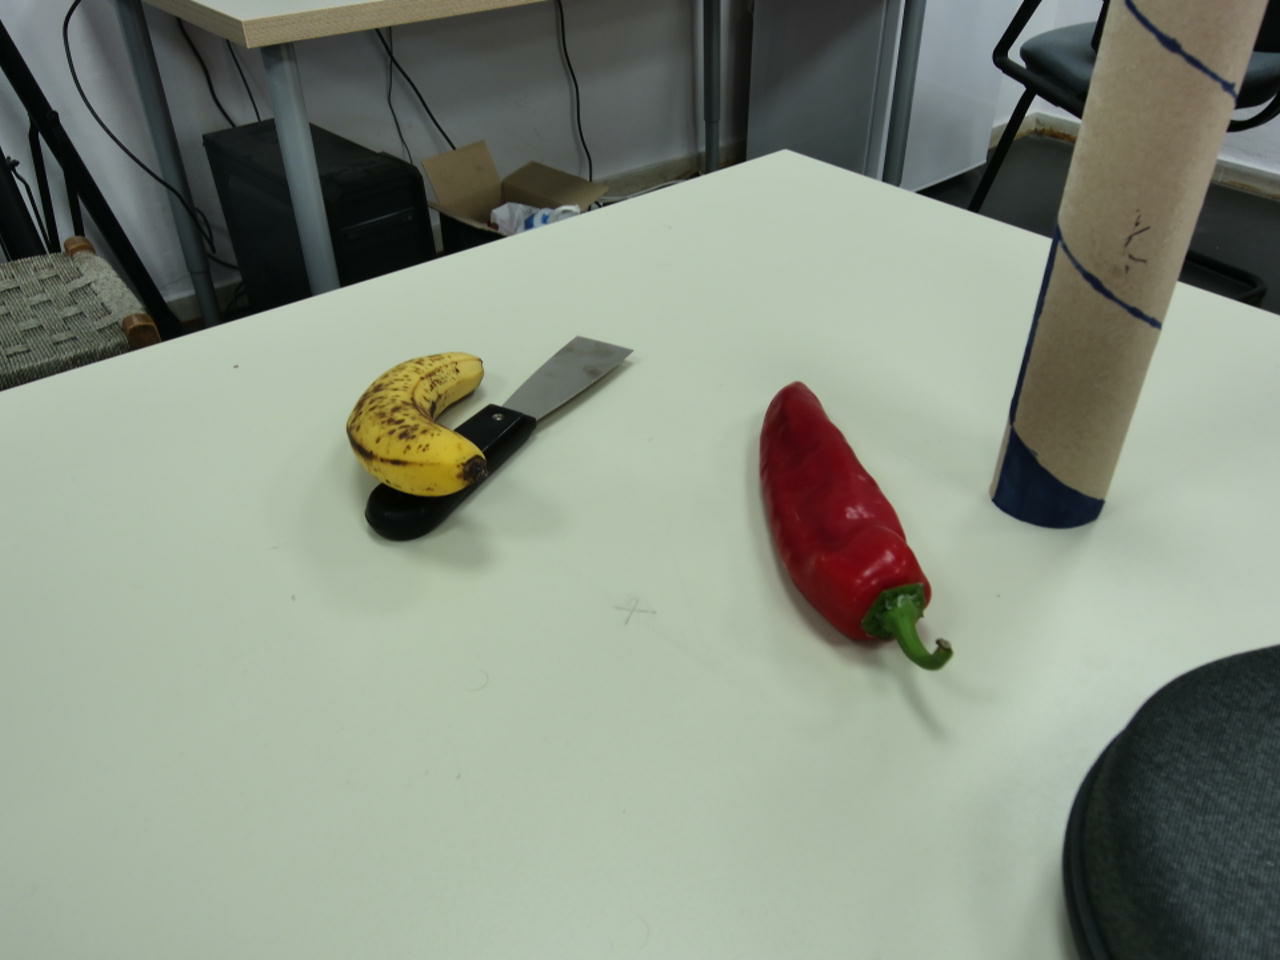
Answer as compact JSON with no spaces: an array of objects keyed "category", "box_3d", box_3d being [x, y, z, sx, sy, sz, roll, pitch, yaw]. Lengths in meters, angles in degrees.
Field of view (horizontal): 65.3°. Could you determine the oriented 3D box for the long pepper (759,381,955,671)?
[{"category":"long pepper","box_3d":[0.082,0.011,0.430,0.050,0.043,0.211,-4,35,-4]}]
